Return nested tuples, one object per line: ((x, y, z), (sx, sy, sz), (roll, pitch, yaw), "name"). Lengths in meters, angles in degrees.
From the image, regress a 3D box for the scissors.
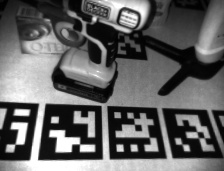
((-0.123, -0.161, 0.387), (0.203, 0.016, 0.088), (27, 60, -1), "scissors")

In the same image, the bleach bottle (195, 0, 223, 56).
((0.236, -0.144, 0.428), (0.103, 0.252, 0.067), (-17, 58, -13), "bleach bottle")

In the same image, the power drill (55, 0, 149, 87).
((-0.051, -0.086, 0.341), (0.184, 0.187, 0.057), (13, 49, -1), "power drill")

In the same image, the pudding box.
((-0.125, -0.120, 0.438), (0.114, 0.090, 0.038), (7, 50, -9), "pudding box")

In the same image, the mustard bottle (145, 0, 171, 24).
((0.117, -0.243, 0.520), (0.096, 0.191, 0.058), (16, 55, -3), "mustard bottle")

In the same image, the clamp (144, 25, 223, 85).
((0.184, -0.077, 0.499), (0.204, 0.036, 0.164), (-1, 60, -16), "clamp")
